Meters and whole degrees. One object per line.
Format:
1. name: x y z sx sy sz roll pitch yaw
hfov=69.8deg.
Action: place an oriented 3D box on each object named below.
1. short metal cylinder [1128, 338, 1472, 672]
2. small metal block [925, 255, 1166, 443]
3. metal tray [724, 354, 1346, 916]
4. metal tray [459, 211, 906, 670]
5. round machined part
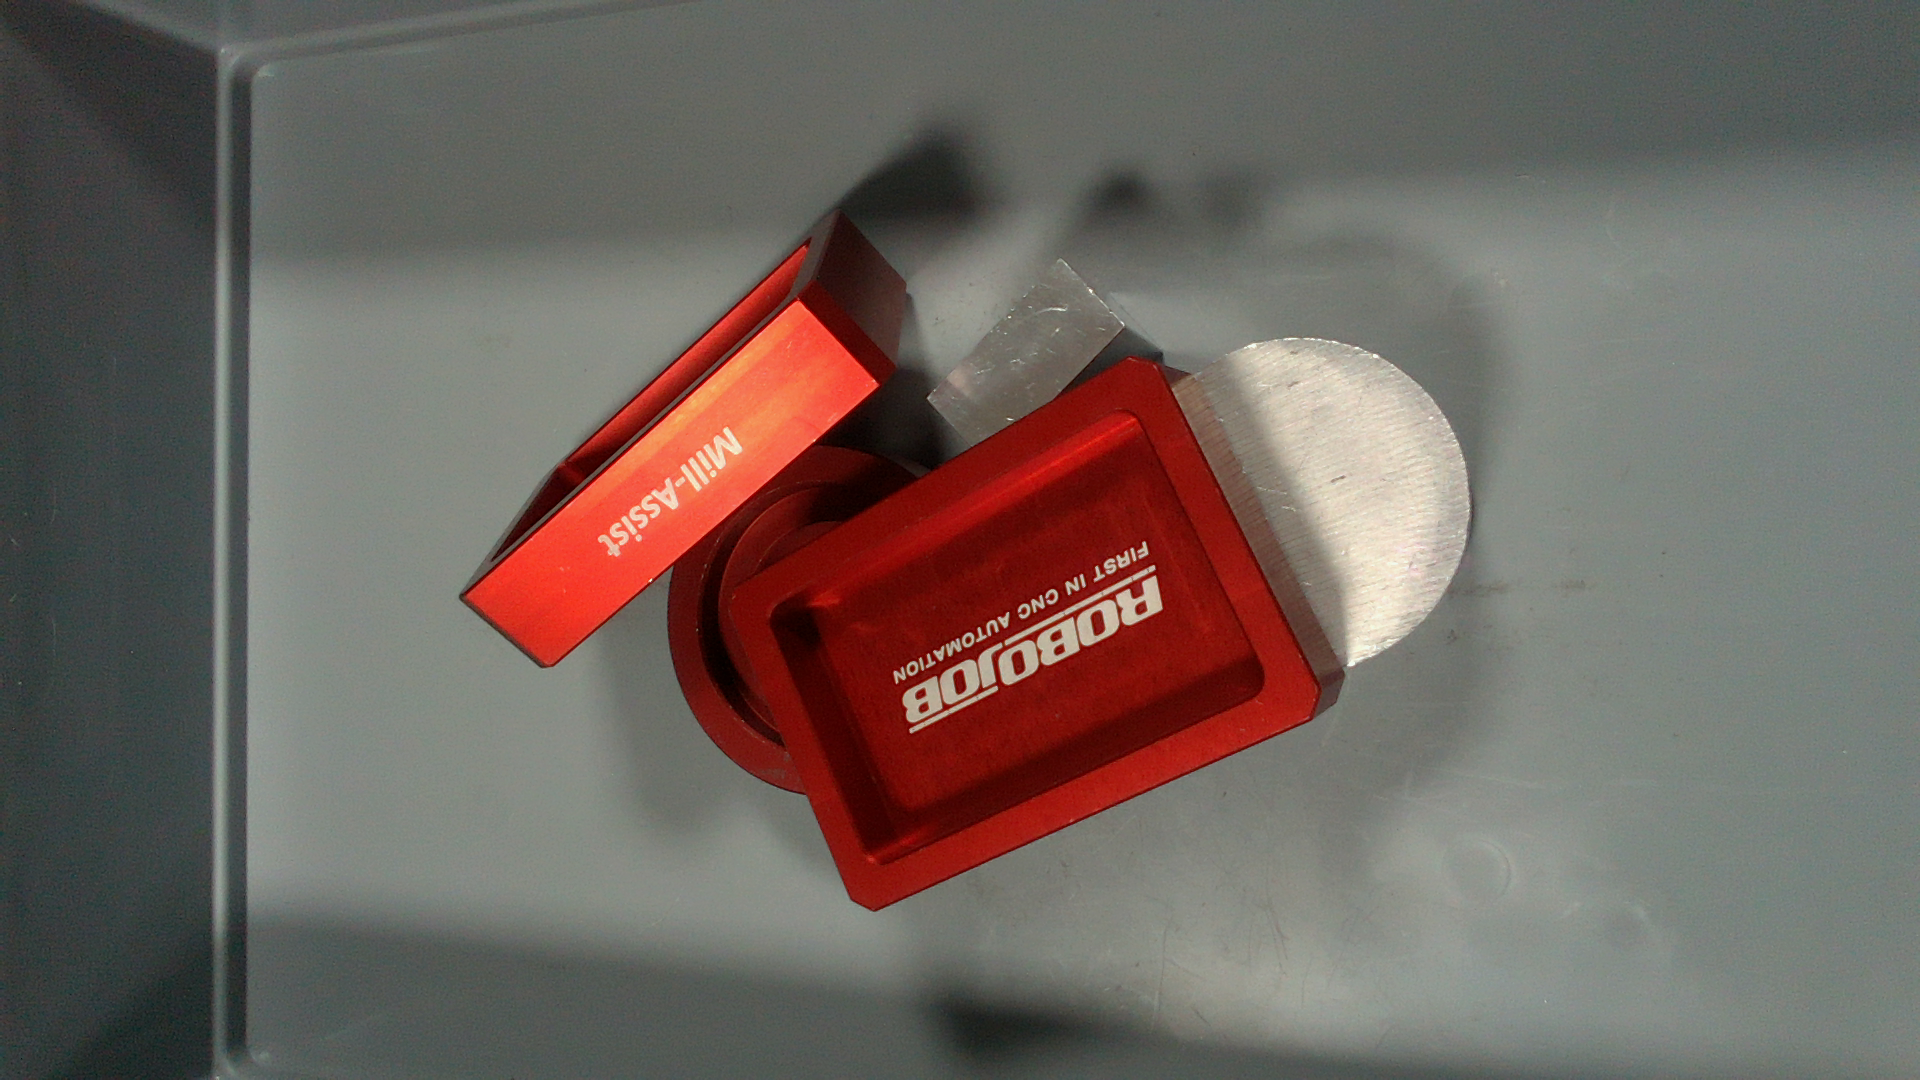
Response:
1. short metal cylinder: 0.087 -0.008 0.349 0.080 0.050 0.080 0 90 20
2. small metal block: 0.024 -0.045 0.372 0.050 0.050 0.025 -45 76 13
3. metal tray: 0.014 0.025 0.336 0.130 0.030 0.090 -29 80 22
4. metal tray: -0.074 -0.030 0.385 0.130 0.090 0.030 -39 109 15
5. round machined part: -0.032 0.023 0.398 0.098 0.042 0.098 0 90 20
